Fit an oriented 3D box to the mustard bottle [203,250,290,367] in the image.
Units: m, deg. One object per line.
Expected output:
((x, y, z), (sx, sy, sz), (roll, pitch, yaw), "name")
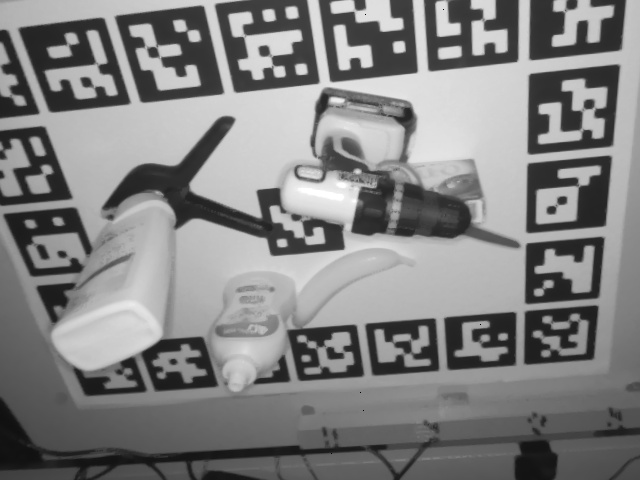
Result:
((-0.096, 0.085, 0.847), (0.096, 0.193, 0.058), (8, 121, 1), "mustard bottle")

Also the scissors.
((0.134, -0.036, 0.740), (0.203, 0.016, 0.087), (19, 116, -2), "scissors")

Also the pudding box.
((0.129, -0.074, 0.793), (0.114, 0.091, 0.038), (-1, 127, 5), "pudding box")

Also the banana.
((0.018, 0.055, 0.899), (0.075, 0.039, 0.195), (32, 118, -33), "banana")

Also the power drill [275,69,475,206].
((0.054, -0.102, 0.692), (0.185, 0.188, 0.057), (6, 128, -3), "power drill")

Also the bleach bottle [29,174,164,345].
((-0.225, -0.001, 0.748), (0.102, 0.252, 0.068), (-24, 120, 10), "bleach bottle")

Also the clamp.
((-0.185, -0.072, 0.827), (0.202, 0.037, 0.164), (-10, 117, 11), "clamp")
